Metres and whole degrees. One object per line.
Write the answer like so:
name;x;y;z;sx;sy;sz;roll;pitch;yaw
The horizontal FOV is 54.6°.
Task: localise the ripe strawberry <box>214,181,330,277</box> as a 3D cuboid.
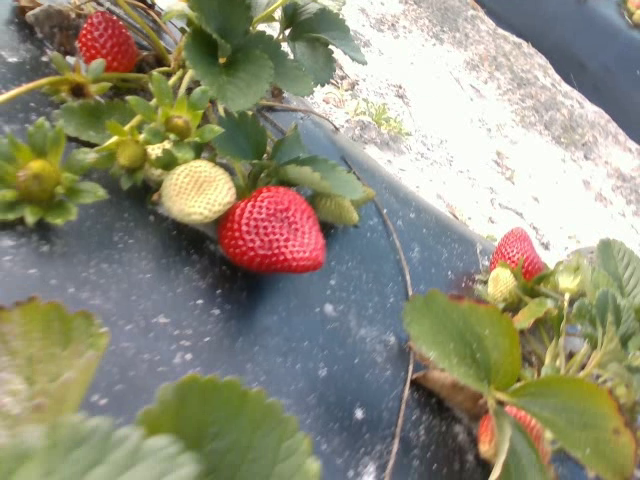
ripe strawberry;-0.018;-0.001;0.277;0.051;0.048;0.055;-29;35;-17
